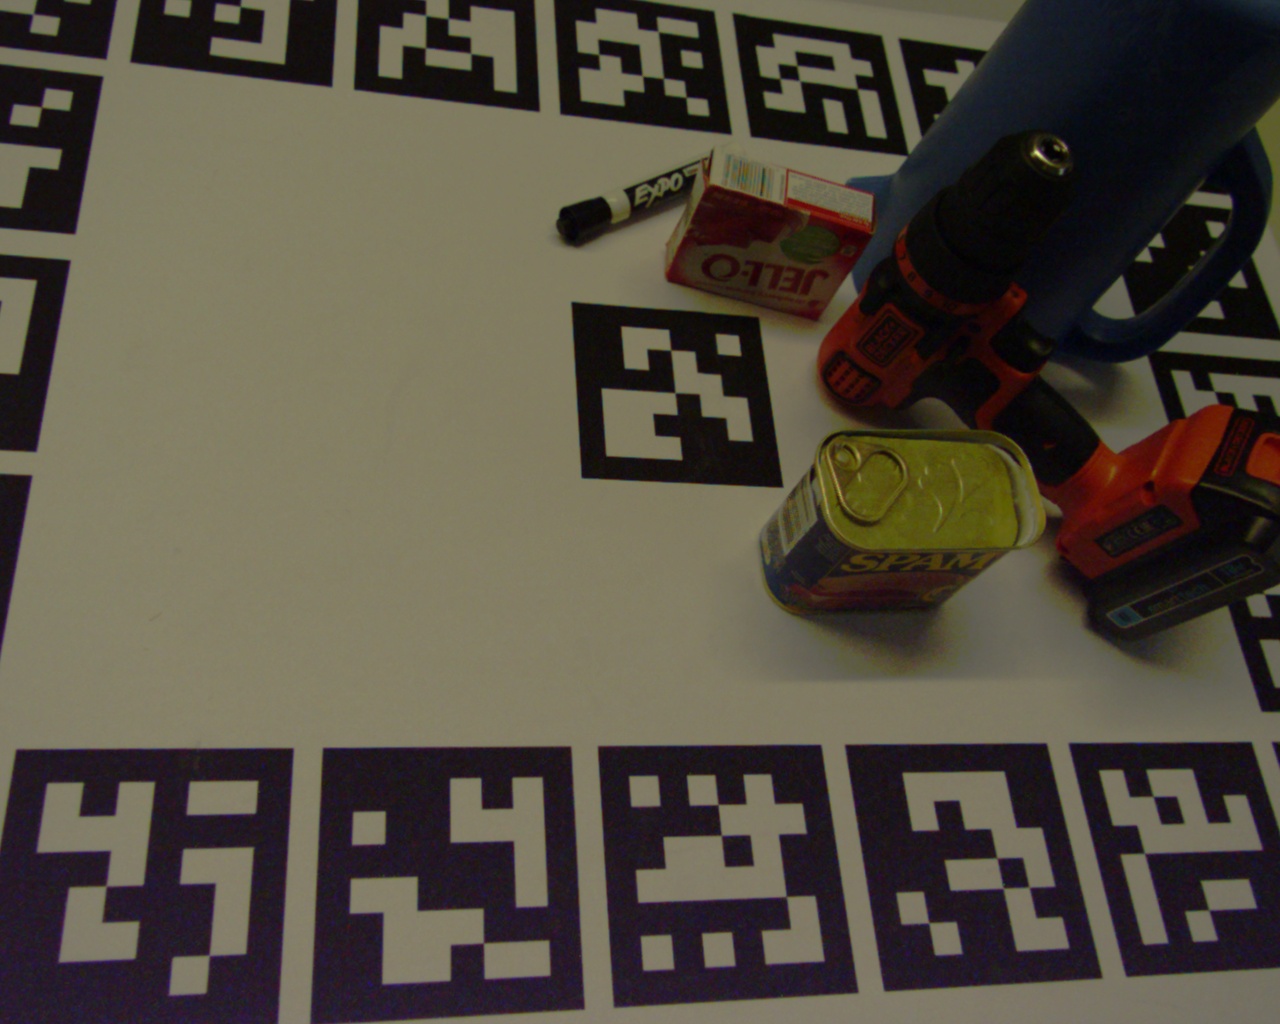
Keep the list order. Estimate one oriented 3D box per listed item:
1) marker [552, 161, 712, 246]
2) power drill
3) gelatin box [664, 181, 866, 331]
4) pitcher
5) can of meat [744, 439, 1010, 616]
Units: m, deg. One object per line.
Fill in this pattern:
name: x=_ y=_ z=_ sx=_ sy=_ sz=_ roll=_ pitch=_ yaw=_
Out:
marker: x=0.004 y=-0.177 z=0.648 sx=0.120 sy=0.020 sz=0.020 roll=-25 pitch=75 yaw=-22
power drill: x=0.180 y=-0.065 z=0.550 sx=0.187 sy=0.185 sz=0.057 roll=36 pitch=64 yaw=-3
gelatin box: x=0.066 y=-0.136 z=0.617 sx=0.089 sy=0.073 sz=0.030 roll=12 pitch=67 yaw=-11
pitcher: x=0.224 y=-0.167 z=0.584 sx=0.189 sy=0.242 sz=0.133 roll=29 pitch=65 yaw=7
can of meat: x=0.109 y=0.011 z=0.549 sx=0.101 sy=0.084 sz=0.058 roll=1 pitch=64 yaw=-15
